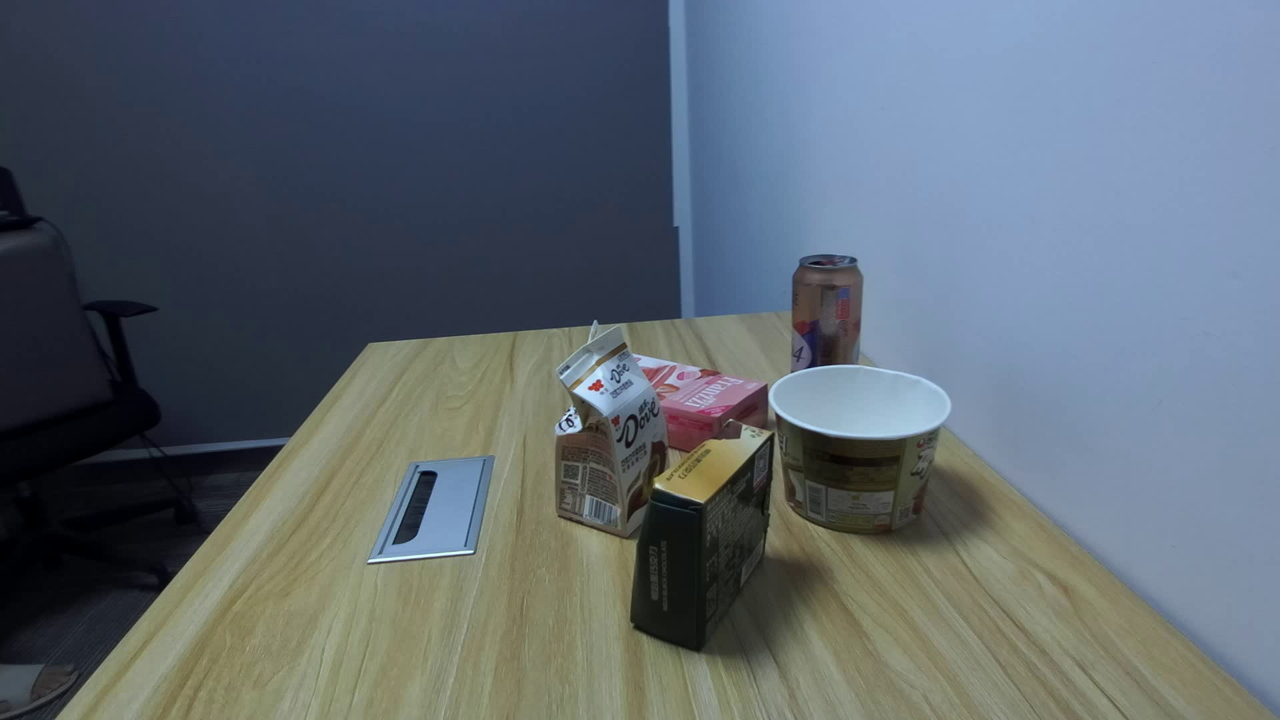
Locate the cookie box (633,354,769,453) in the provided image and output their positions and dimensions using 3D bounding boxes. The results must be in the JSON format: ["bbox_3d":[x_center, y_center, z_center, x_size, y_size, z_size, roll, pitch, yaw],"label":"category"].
[{"bbox_3d":[0.025,0.044,0.727,0.186,0.049,0.105,12,25,36],"label":"cookie box"}]

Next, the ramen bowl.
[{"bbox_3d":[0.173,0.071,0.567,0.140,0.095,0.140,-4,20,2],"label":"ramen bowl"}]

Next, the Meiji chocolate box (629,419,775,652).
[{"bbox_3d":[0.044,0.111,0.462,0.051,0.117,0.117,17,28,26],"label":"Meiji chocolate box"}]

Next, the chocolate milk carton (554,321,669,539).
[{"bbox_3d":[-0.027,0.050,0.569,0.073,0.156,0.076,8,25,33],"label":"chocolate milk carton"}]

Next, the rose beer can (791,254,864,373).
[{"bbox_3d":[0.183,-0.015,0.694,0.068,0.169,0.068,-3,20,2],"label":"rose beer can"}]
